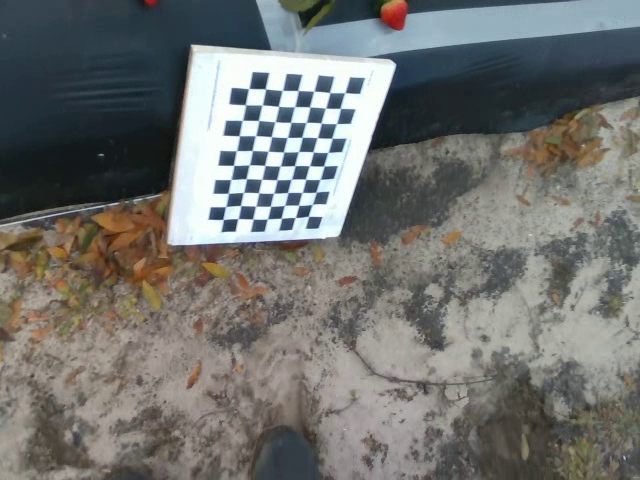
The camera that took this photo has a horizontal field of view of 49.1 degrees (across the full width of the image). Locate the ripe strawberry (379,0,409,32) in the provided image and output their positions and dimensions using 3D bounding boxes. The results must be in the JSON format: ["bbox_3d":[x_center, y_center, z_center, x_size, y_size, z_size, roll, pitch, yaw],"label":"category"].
[{"bbox_3d":[0.094,-0.276,0.827,0.039,0.047,0.041,-21,41,5],"label":"ripe strawberry"}]
